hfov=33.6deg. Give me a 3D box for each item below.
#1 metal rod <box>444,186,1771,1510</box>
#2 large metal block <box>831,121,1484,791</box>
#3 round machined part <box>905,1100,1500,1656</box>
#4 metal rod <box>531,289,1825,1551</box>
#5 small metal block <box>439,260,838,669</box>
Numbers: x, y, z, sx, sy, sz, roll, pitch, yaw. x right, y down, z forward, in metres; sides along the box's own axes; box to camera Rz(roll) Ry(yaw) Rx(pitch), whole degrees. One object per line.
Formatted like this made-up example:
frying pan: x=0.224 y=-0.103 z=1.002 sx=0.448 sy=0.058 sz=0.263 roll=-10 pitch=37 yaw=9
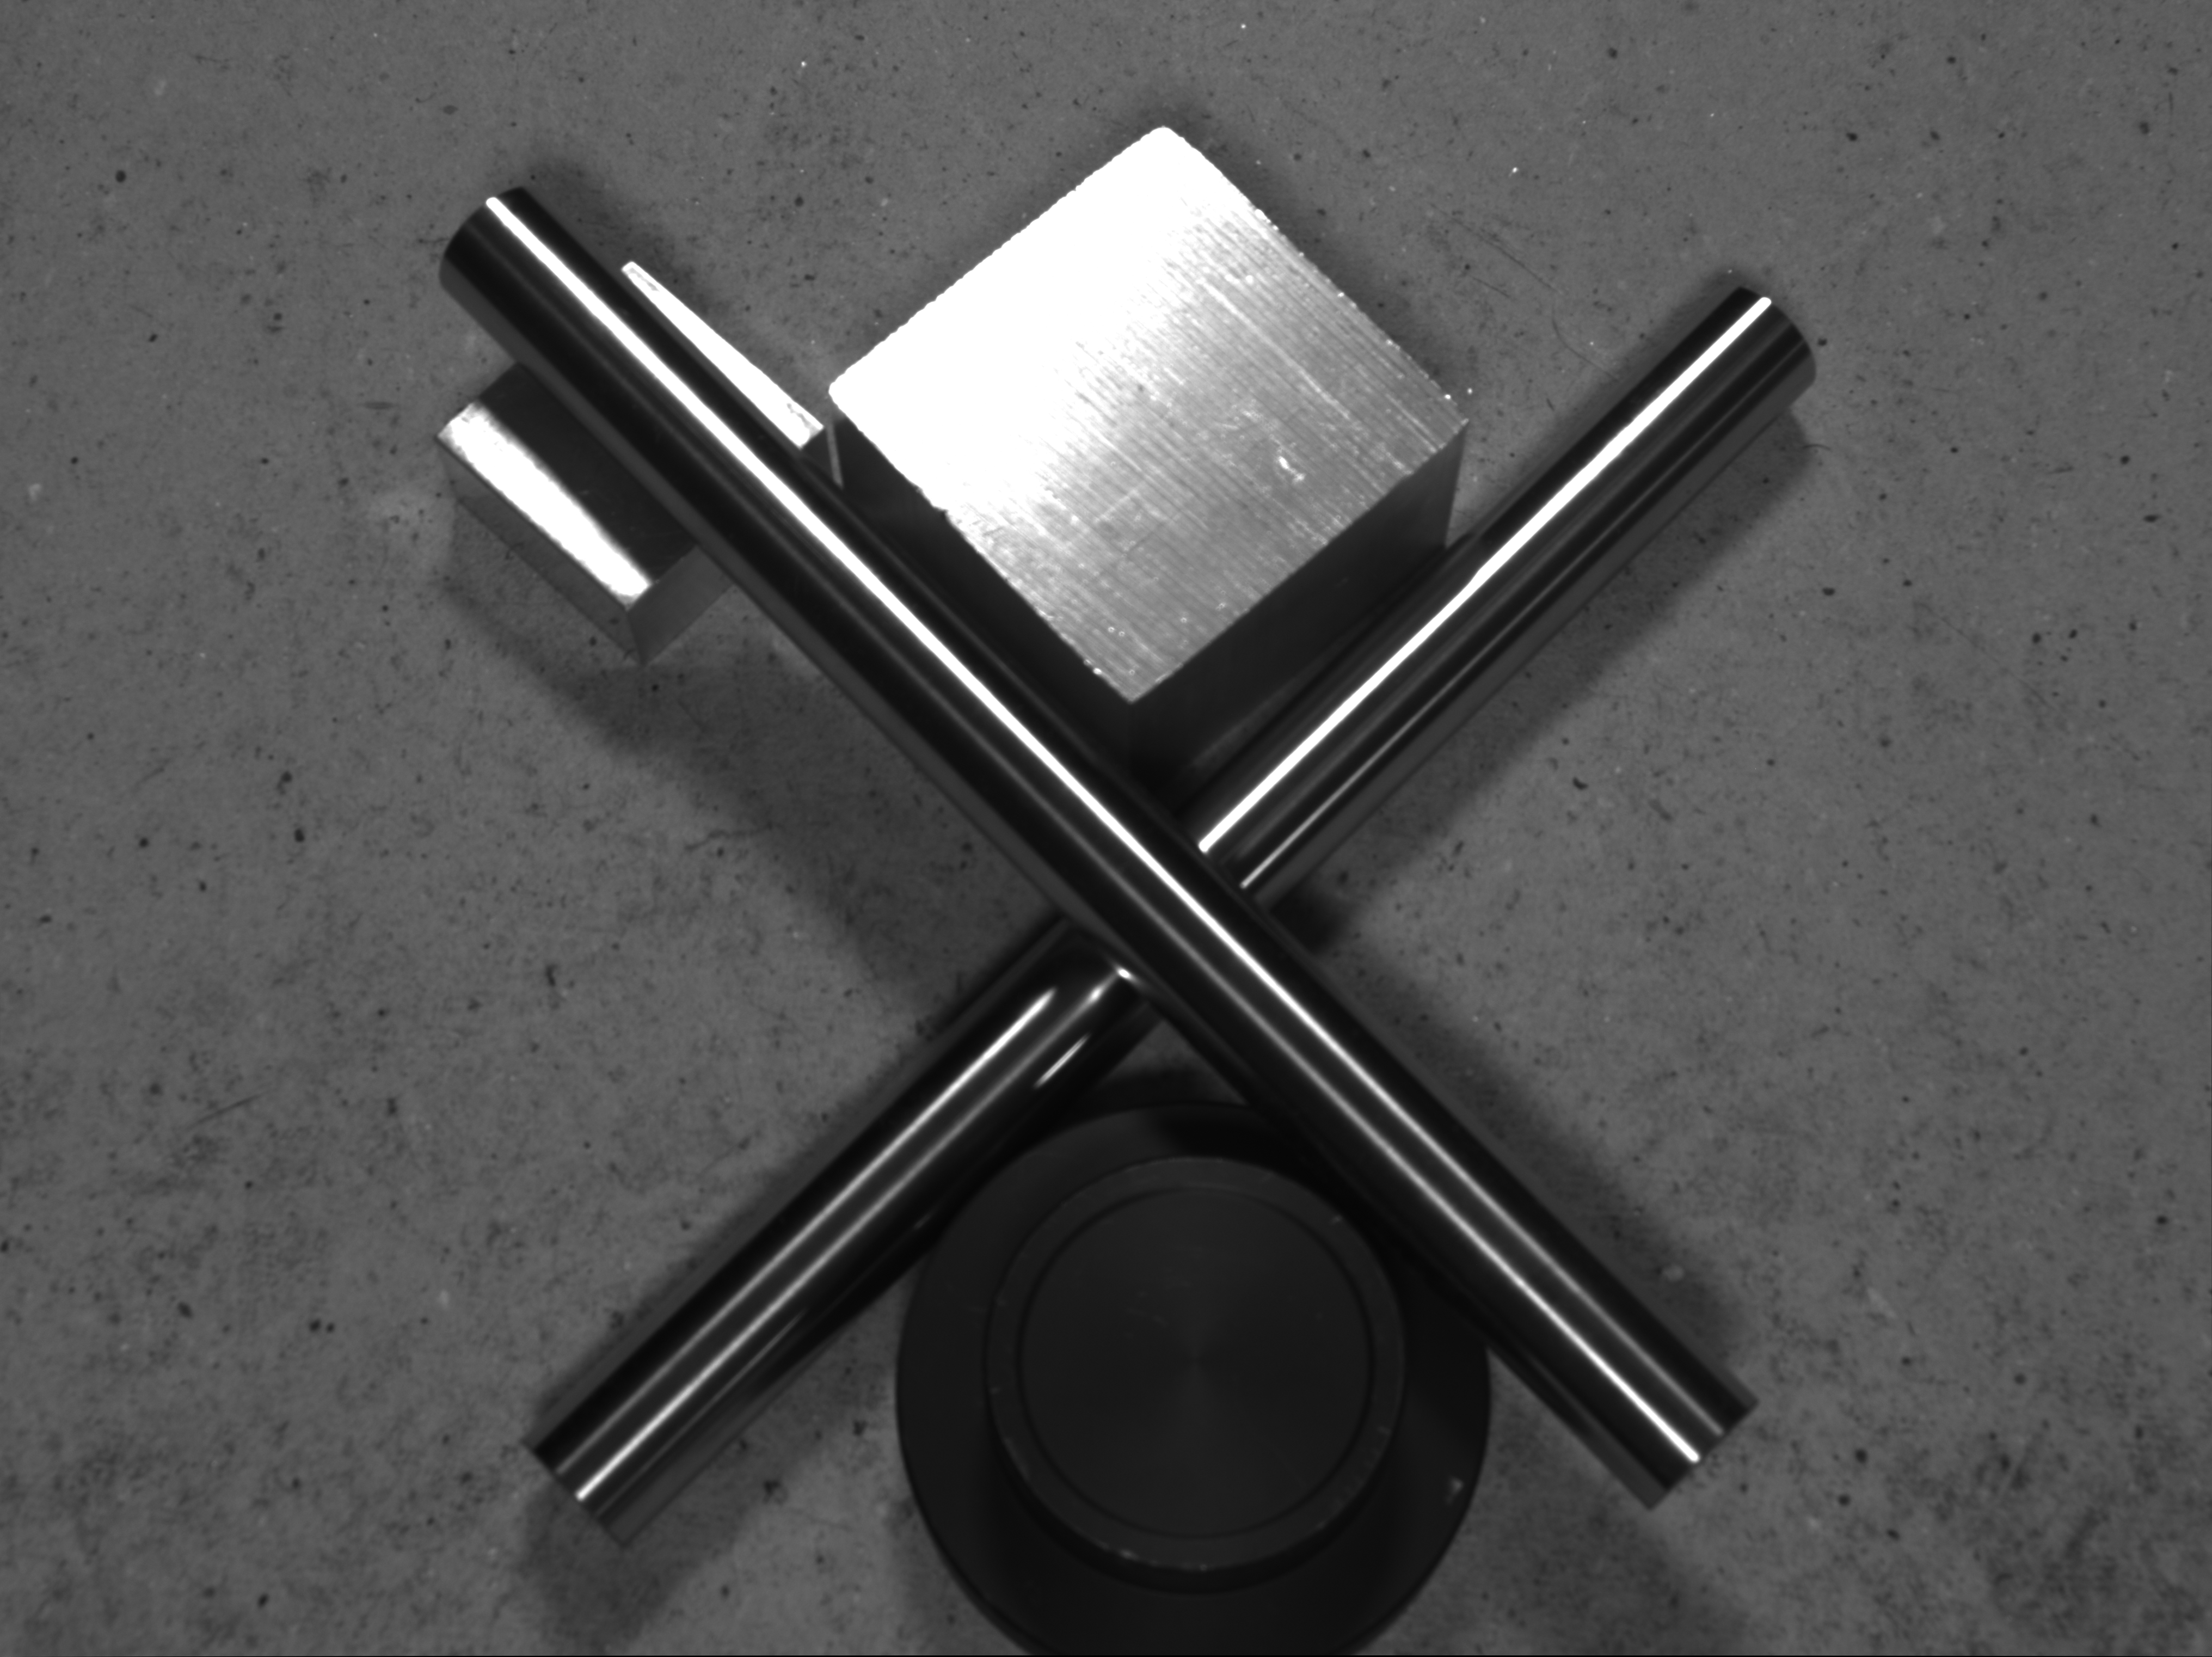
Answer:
metal rod: x=-0.006 y=-0.003 z=0.619 sx=0.025 sy=0.025 sz=0.300 roll=-41 pitch=75 yaw=-14
large metal block: x=0.009 y=-0.064 z=0.657 sx=0.080 sy=0.050 sz=0.080 roll=-40 pitch=75 yaw=-13
round machined part: x=0.016 y=0.092 z=0.602 sx=0.098 sy=0.042 sz=0.098 roll=0 pitch=70 yaw=0
metal rod: x=0.019 y=0.010 z=0.643 sx=0.025 sy=0.025 sz=0.300 roll=43 pitch=75 yaw=14
small metal block: x=-0.085 y=-0.067 z=0.671 sx=0.050 sy=0.025 sz=0.050 roll=41 pitch=75 yaw=14
